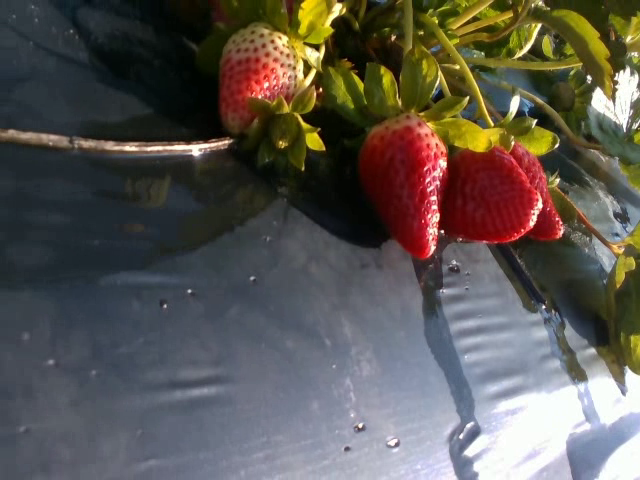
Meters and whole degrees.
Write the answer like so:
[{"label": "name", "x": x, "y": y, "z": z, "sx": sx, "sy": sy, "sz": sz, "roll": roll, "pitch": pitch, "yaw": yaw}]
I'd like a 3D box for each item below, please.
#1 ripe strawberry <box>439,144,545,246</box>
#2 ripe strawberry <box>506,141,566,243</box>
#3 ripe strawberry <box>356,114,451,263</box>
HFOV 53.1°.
[{"label": "ripe strawberry", "x": 0.054, "y": -0.015, "z": 0.199, "sx": 0.030, "sy": 0.037, "sz": 0.039, "roll": 19, "pitch": 12, "yaw": -41}, {"label": "ripe strawberry", "x": 0.072, "y": -0.013, "z": 0.221, "sx": 0.035, "sy": 0.034, "sz": 0.041, "roll": 0, "pitch": 39, "yaw": -43}, {"label": "ripe strawberry", "x": 0.028, "y": -0.016, "z": 0.184, "sx": 0.031, "sy": 0.046, "sz": 0.023, "roll": 5, "pitch": -19, "yaw": -43}]
